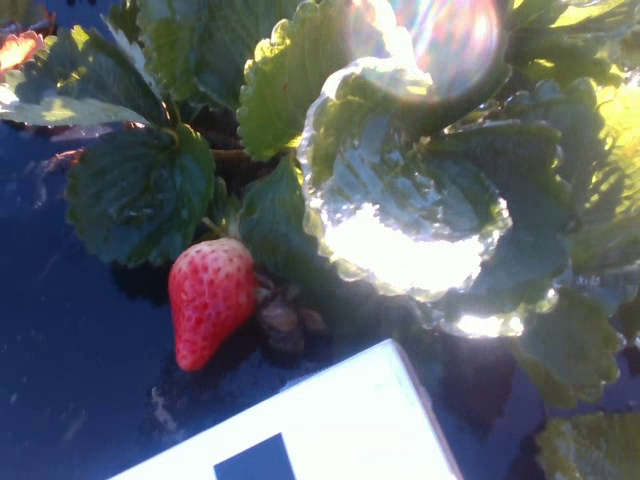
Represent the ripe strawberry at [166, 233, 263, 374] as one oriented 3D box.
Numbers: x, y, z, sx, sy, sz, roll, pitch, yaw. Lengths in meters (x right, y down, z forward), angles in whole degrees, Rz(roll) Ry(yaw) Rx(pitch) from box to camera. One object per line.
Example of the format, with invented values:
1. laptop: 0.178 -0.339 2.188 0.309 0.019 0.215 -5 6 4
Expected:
1. ripe strawberry: -0.054 0.026 0.258 0.040 0.065 0.040 12 -14 22
